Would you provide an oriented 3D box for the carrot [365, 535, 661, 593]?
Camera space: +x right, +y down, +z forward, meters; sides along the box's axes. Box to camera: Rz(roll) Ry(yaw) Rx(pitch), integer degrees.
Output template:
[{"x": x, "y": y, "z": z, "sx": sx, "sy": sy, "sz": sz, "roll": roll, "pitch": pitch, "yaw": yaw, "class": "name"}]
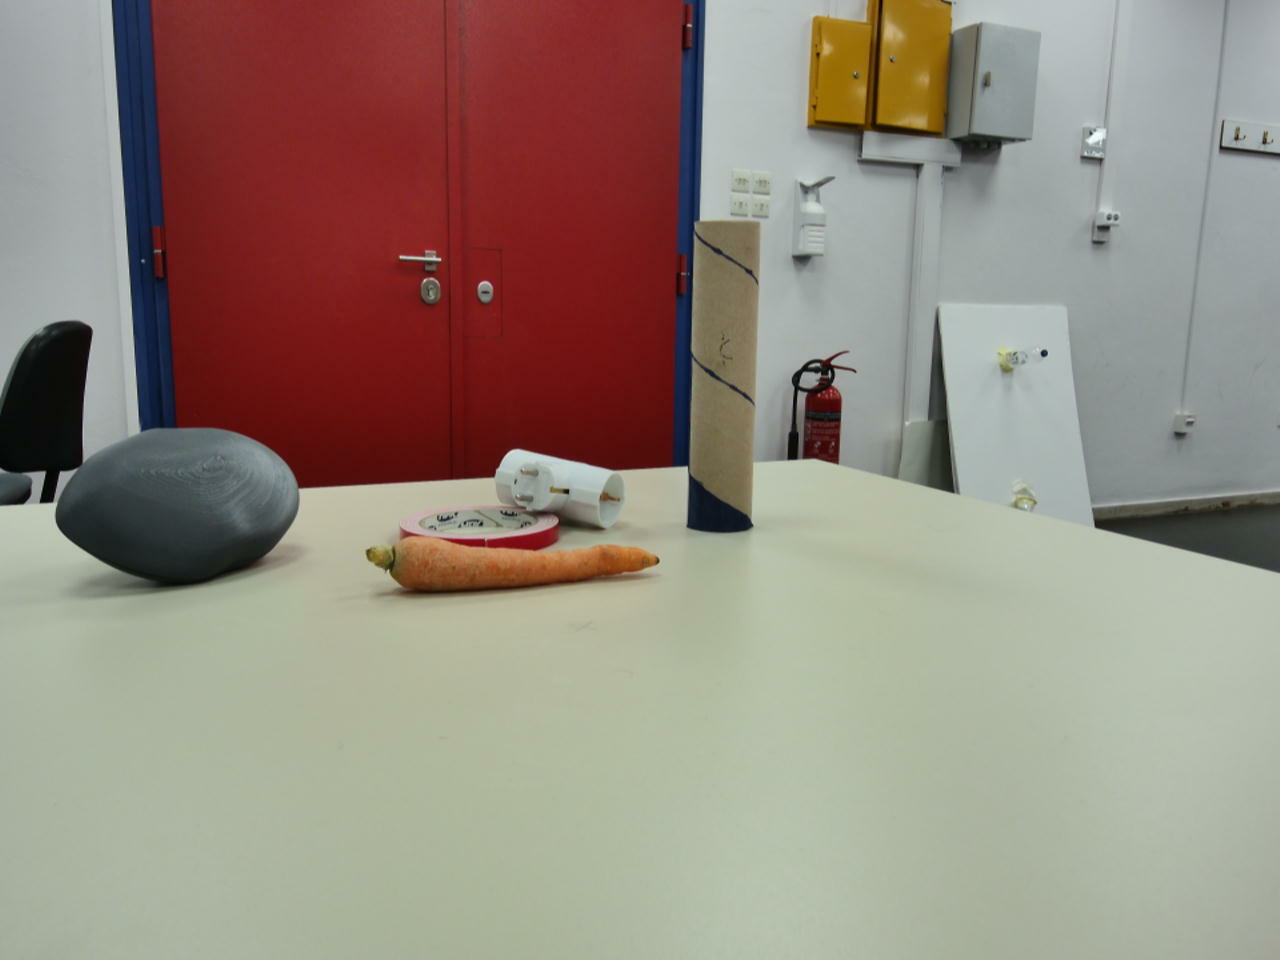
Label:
[{"x": -0.068, "y": 0.046, "z": 0.579, "sx": 0.173, "sy": 0.032, "sz": 0.030, "roll": -2, "pitch": 8, "yaw": -15, "class": "carrot"}]
